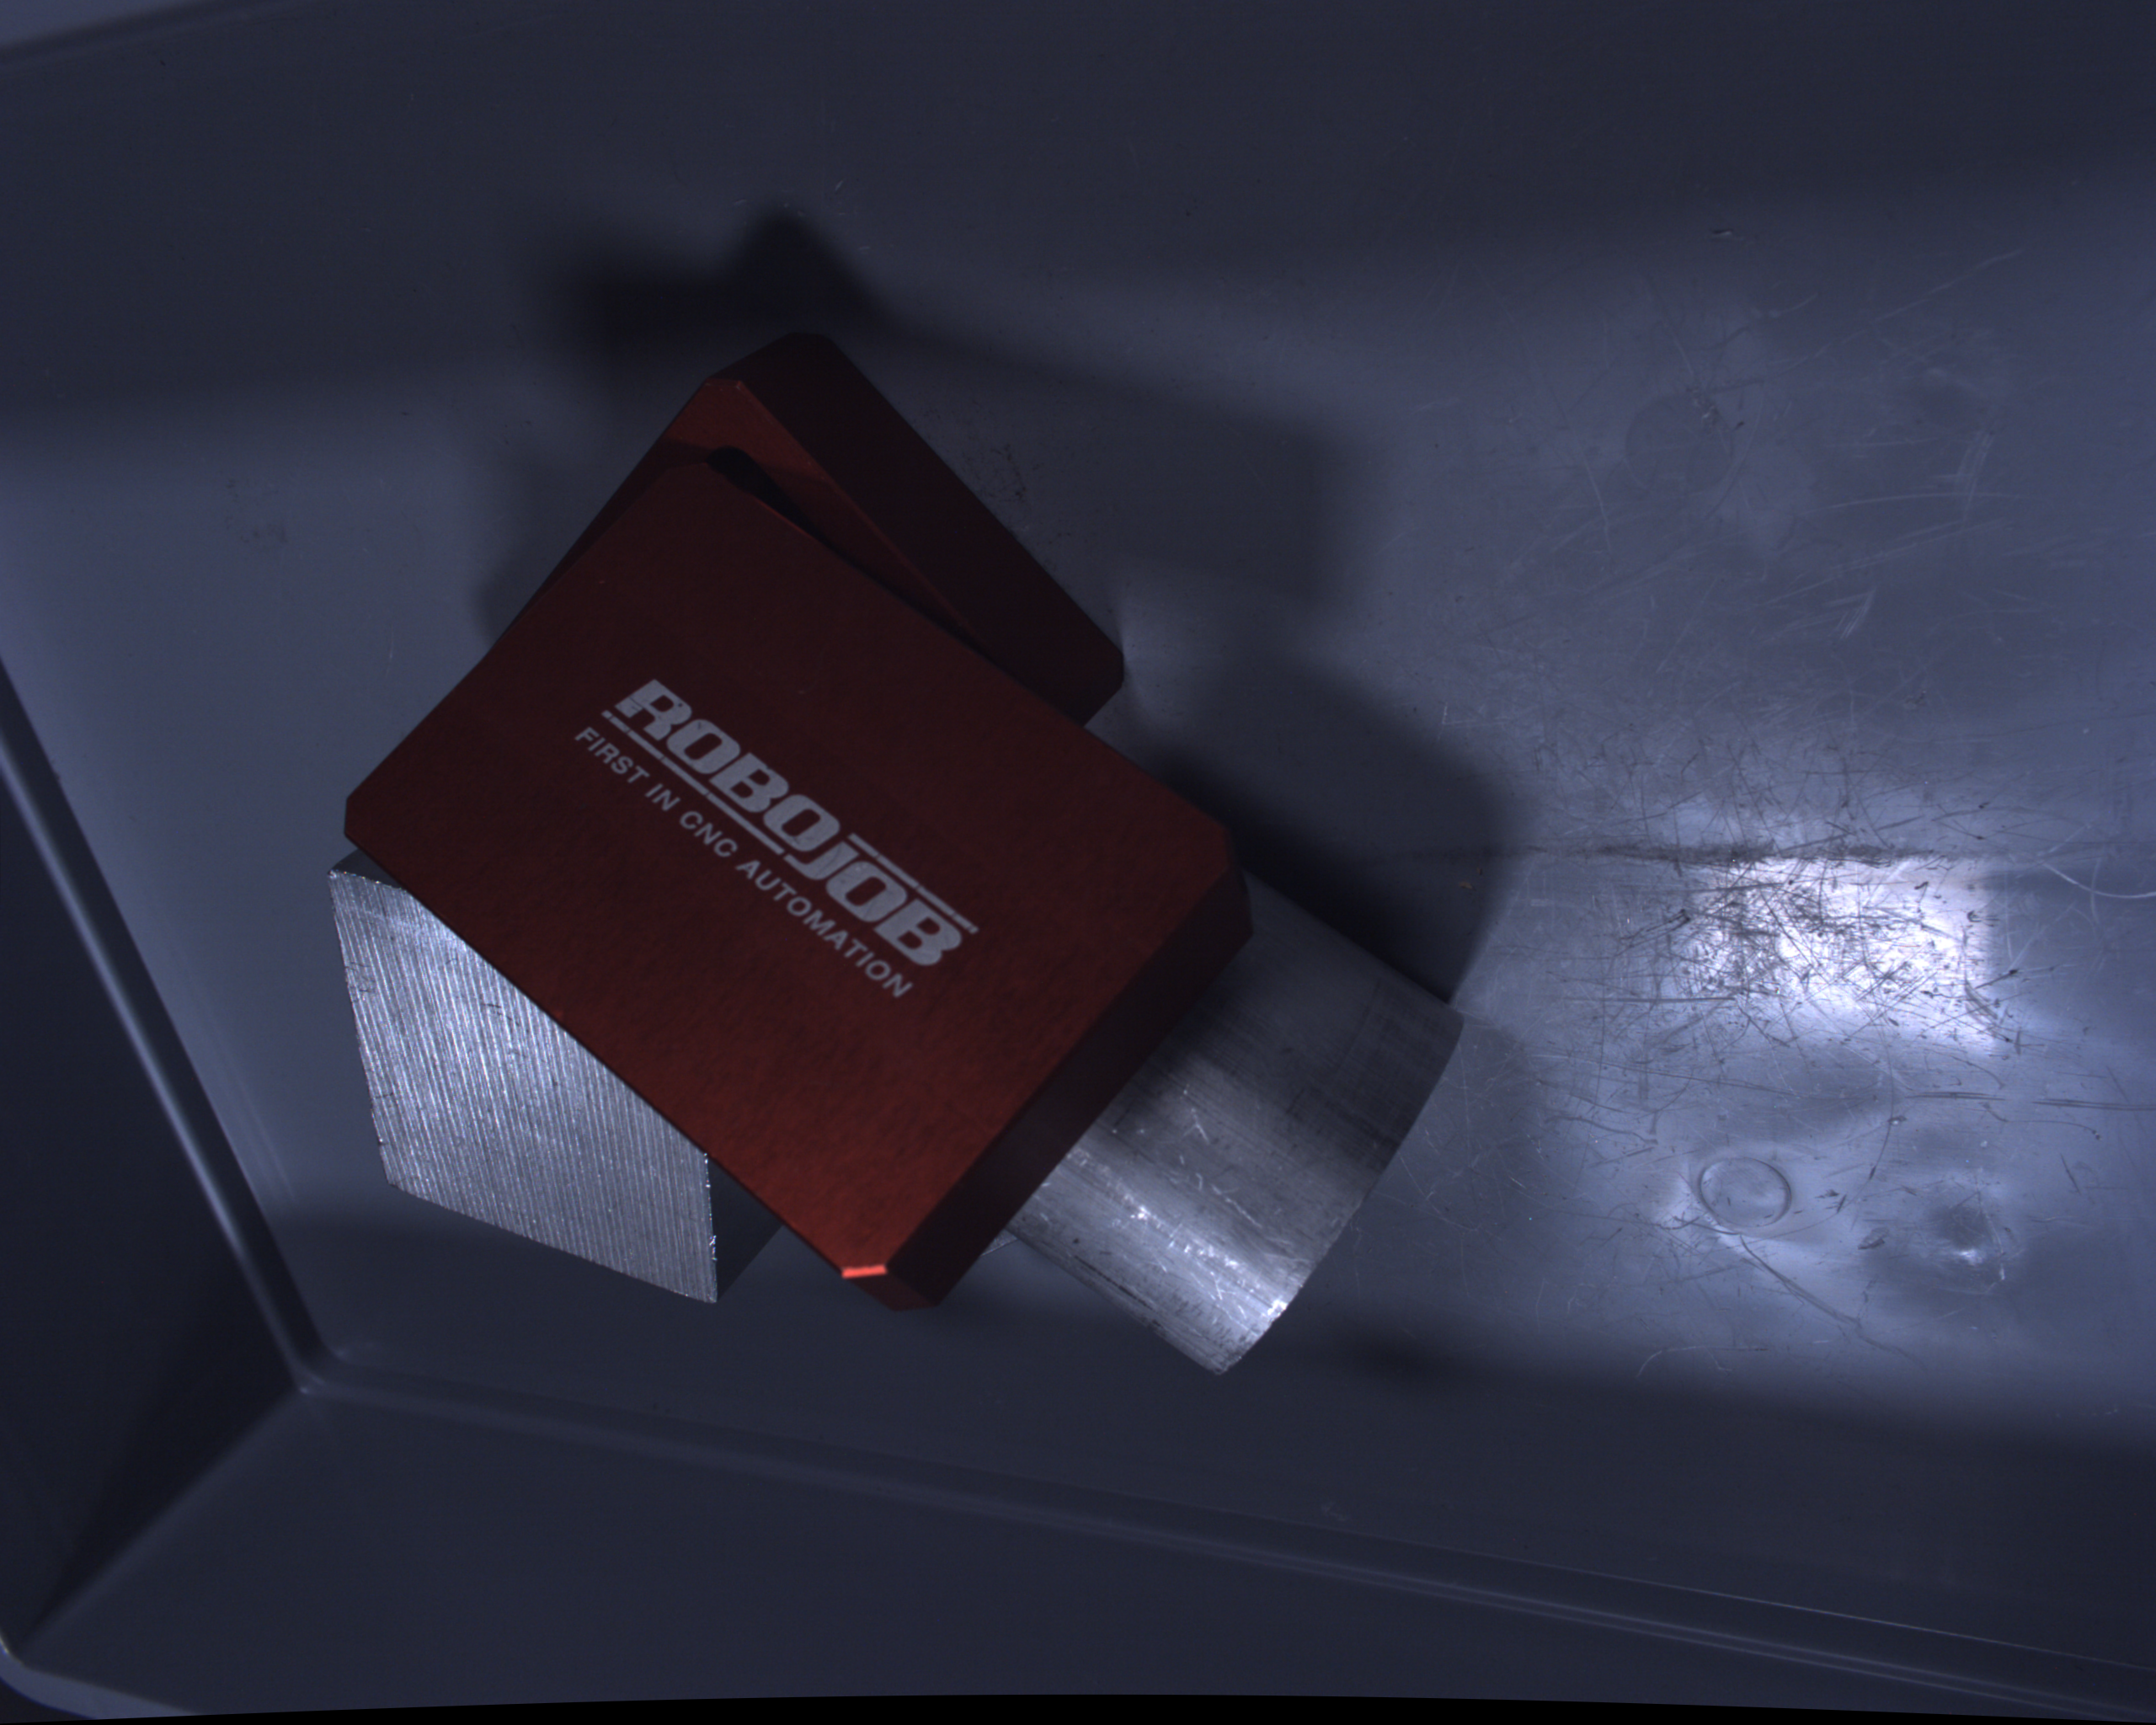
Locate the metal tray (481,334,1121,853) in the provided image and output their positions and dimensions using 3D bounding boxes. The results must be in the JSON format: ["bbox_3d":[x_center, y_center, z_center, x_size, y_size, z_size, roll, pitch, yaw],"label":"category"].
[{"bbox_3d":[-0.065,-0.030,0.417,0.090,0.030,0.129,47,129,-5],"label":"metal tray"}]

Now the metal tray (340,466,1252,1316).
[{"bbox_3d":[-0.048,0.001,0.352,0.130,0.090,0.030,36,168,22],"label":"metal tray"}]

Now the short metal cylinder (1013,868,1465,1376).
[{"bbox_3d":[0.027,0.046,0.385,0.050,0.080,0.079,34,129,5],"label":"short metal cylinder"}]

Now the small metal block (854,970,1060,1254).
[{"bbox_3d":[-0.017,0.051,0.446,0.050,0.025,0.050,-32,101,38],"label":"small metal block"}]

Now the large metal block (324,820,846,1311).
[{"bbox_3d":[-0.095,0.032,0.417,0.080,0.050,0.079,15,125,19],"label":"large metal block"}]
